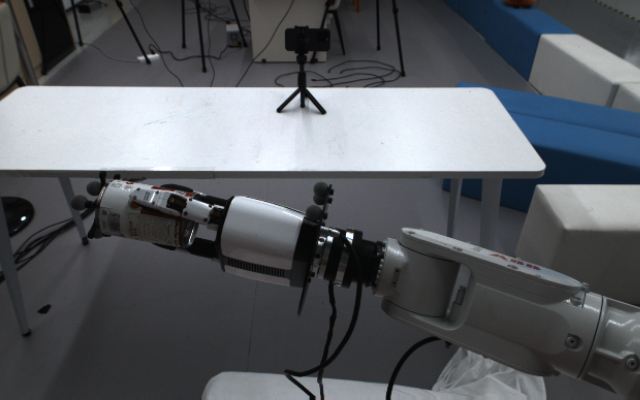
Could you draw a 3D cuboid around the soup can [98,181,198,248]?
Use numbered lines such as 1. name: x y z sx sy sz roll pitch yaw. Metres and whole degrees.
1. soup can: -0.197 0.018 0.571 0.101 0.067 0.067 10 35 -1
